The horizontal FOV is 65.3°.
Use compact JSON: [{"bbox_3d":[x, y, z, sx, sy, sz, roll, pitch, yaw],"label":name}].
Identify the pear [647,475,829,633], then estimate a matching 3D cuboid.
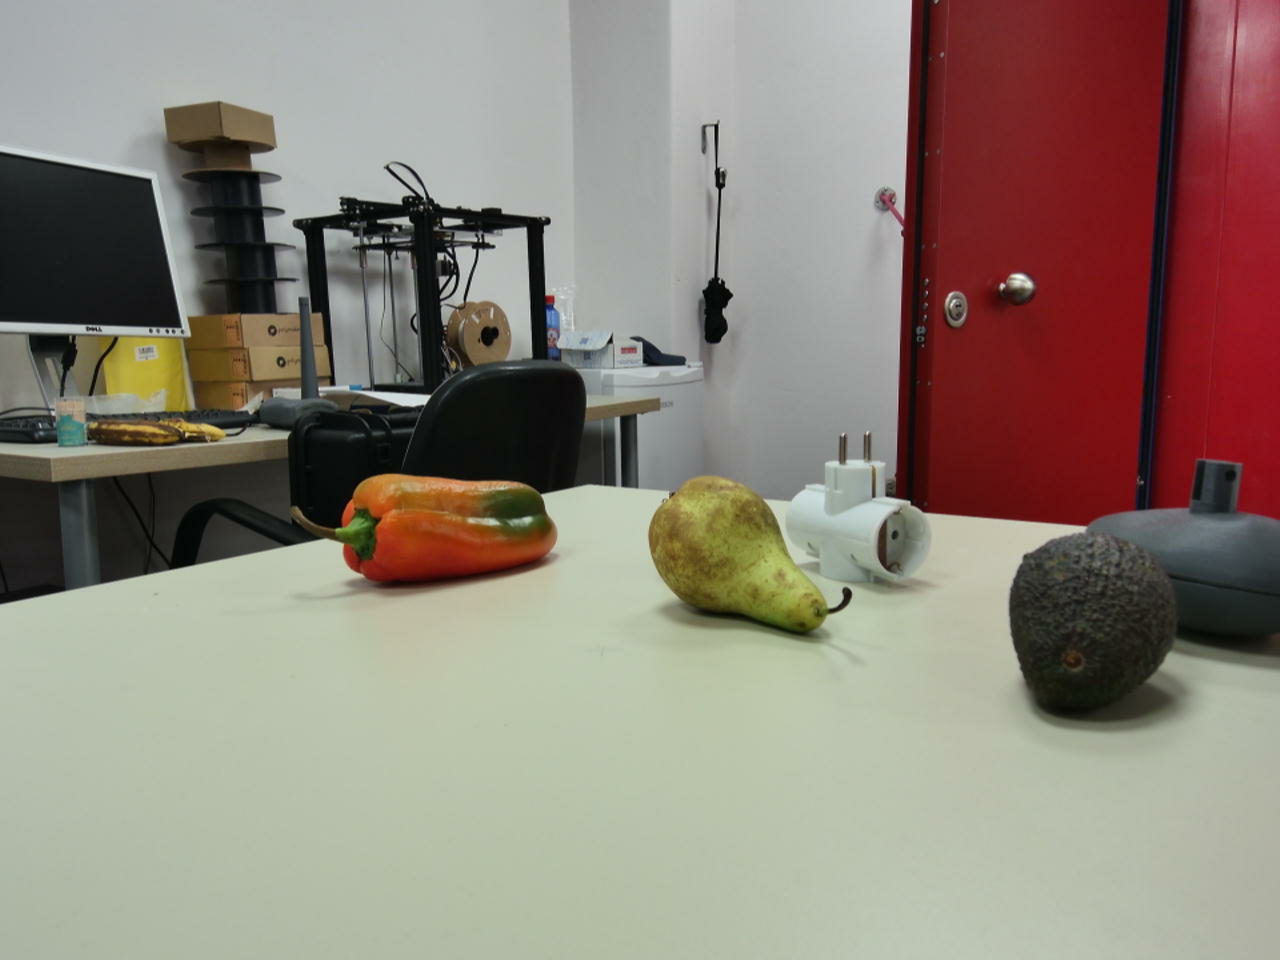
[{"bbox_3d":[0.066,0.039,0.539,0.144,0.075,0.071,8,9,43],"label":"pear"}]
